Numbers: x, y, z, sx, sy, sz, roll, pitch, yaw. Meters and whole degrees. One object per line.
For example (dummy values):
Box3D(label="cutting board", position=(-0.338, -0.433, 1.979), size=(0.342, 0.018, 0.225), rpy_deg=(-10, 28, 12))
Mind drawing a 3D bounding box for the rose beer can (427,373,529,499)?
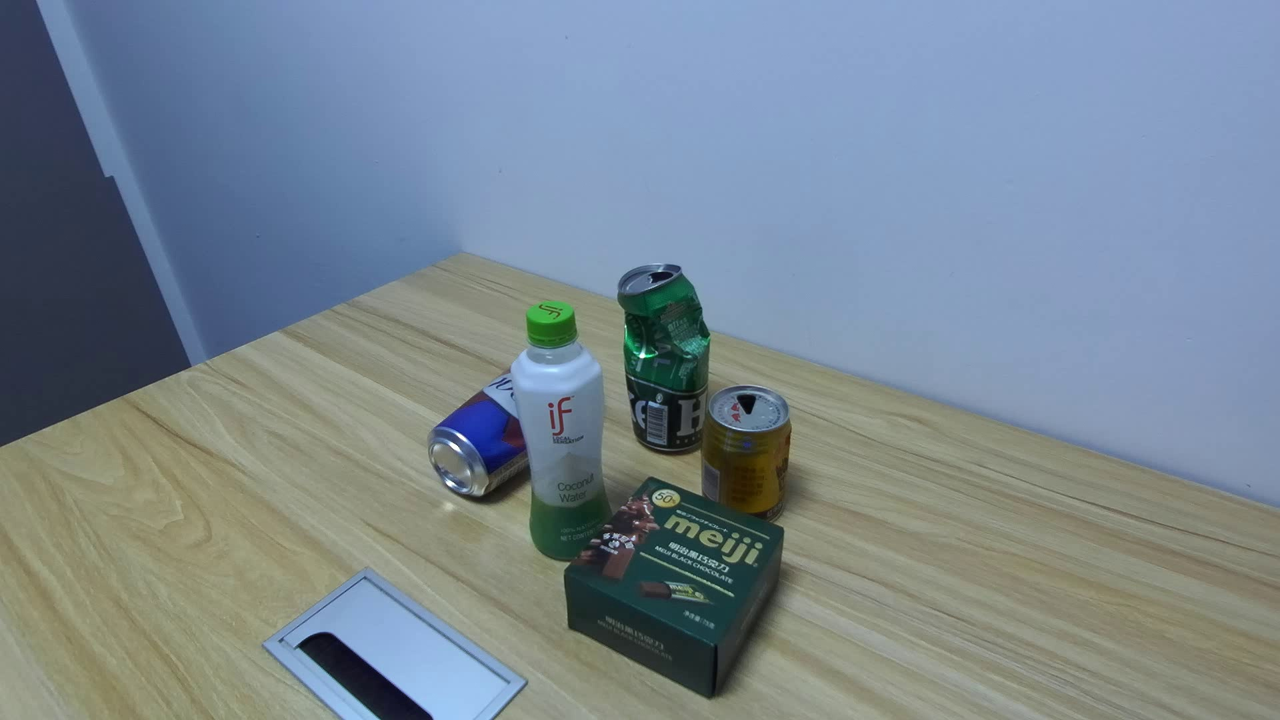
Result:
Box3D(label="rose beer can", position=(-0.105, 0.048, 0.617), size=(0.069, 0.069, 0.168), rpy_deg=(-9, 21, 43))

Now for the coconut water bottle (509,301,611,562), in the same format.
Box3D(label="coconut water bottle", position=(-0.054, 0.051, 0.492), size=(0.063, 0.189, 0.063), rpy_deg=(-1, 31, 1))

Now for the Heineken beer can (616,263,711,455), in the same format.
Box3D(label="Heineken beer can", position=(0.025, 0.001, 0.602), size=(0.078, 0.159, 0.067), rpy_deg=(-2, 25, 14))

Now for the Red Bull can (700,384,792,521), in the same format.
Box3D(label="Red Bull can", position=(0.080, 0.074, 0.540), size=(0.069, 0.092, 0.069), rpy_deg=(0, 31, 0))

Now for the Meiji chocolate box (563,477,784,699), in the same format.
Box3D(label="Meiji chocolate box", position=(0.025, 0.144, 0.468), size=(0.109, 0.056, 0.109), rpy_deg=(17, 36, 27))
